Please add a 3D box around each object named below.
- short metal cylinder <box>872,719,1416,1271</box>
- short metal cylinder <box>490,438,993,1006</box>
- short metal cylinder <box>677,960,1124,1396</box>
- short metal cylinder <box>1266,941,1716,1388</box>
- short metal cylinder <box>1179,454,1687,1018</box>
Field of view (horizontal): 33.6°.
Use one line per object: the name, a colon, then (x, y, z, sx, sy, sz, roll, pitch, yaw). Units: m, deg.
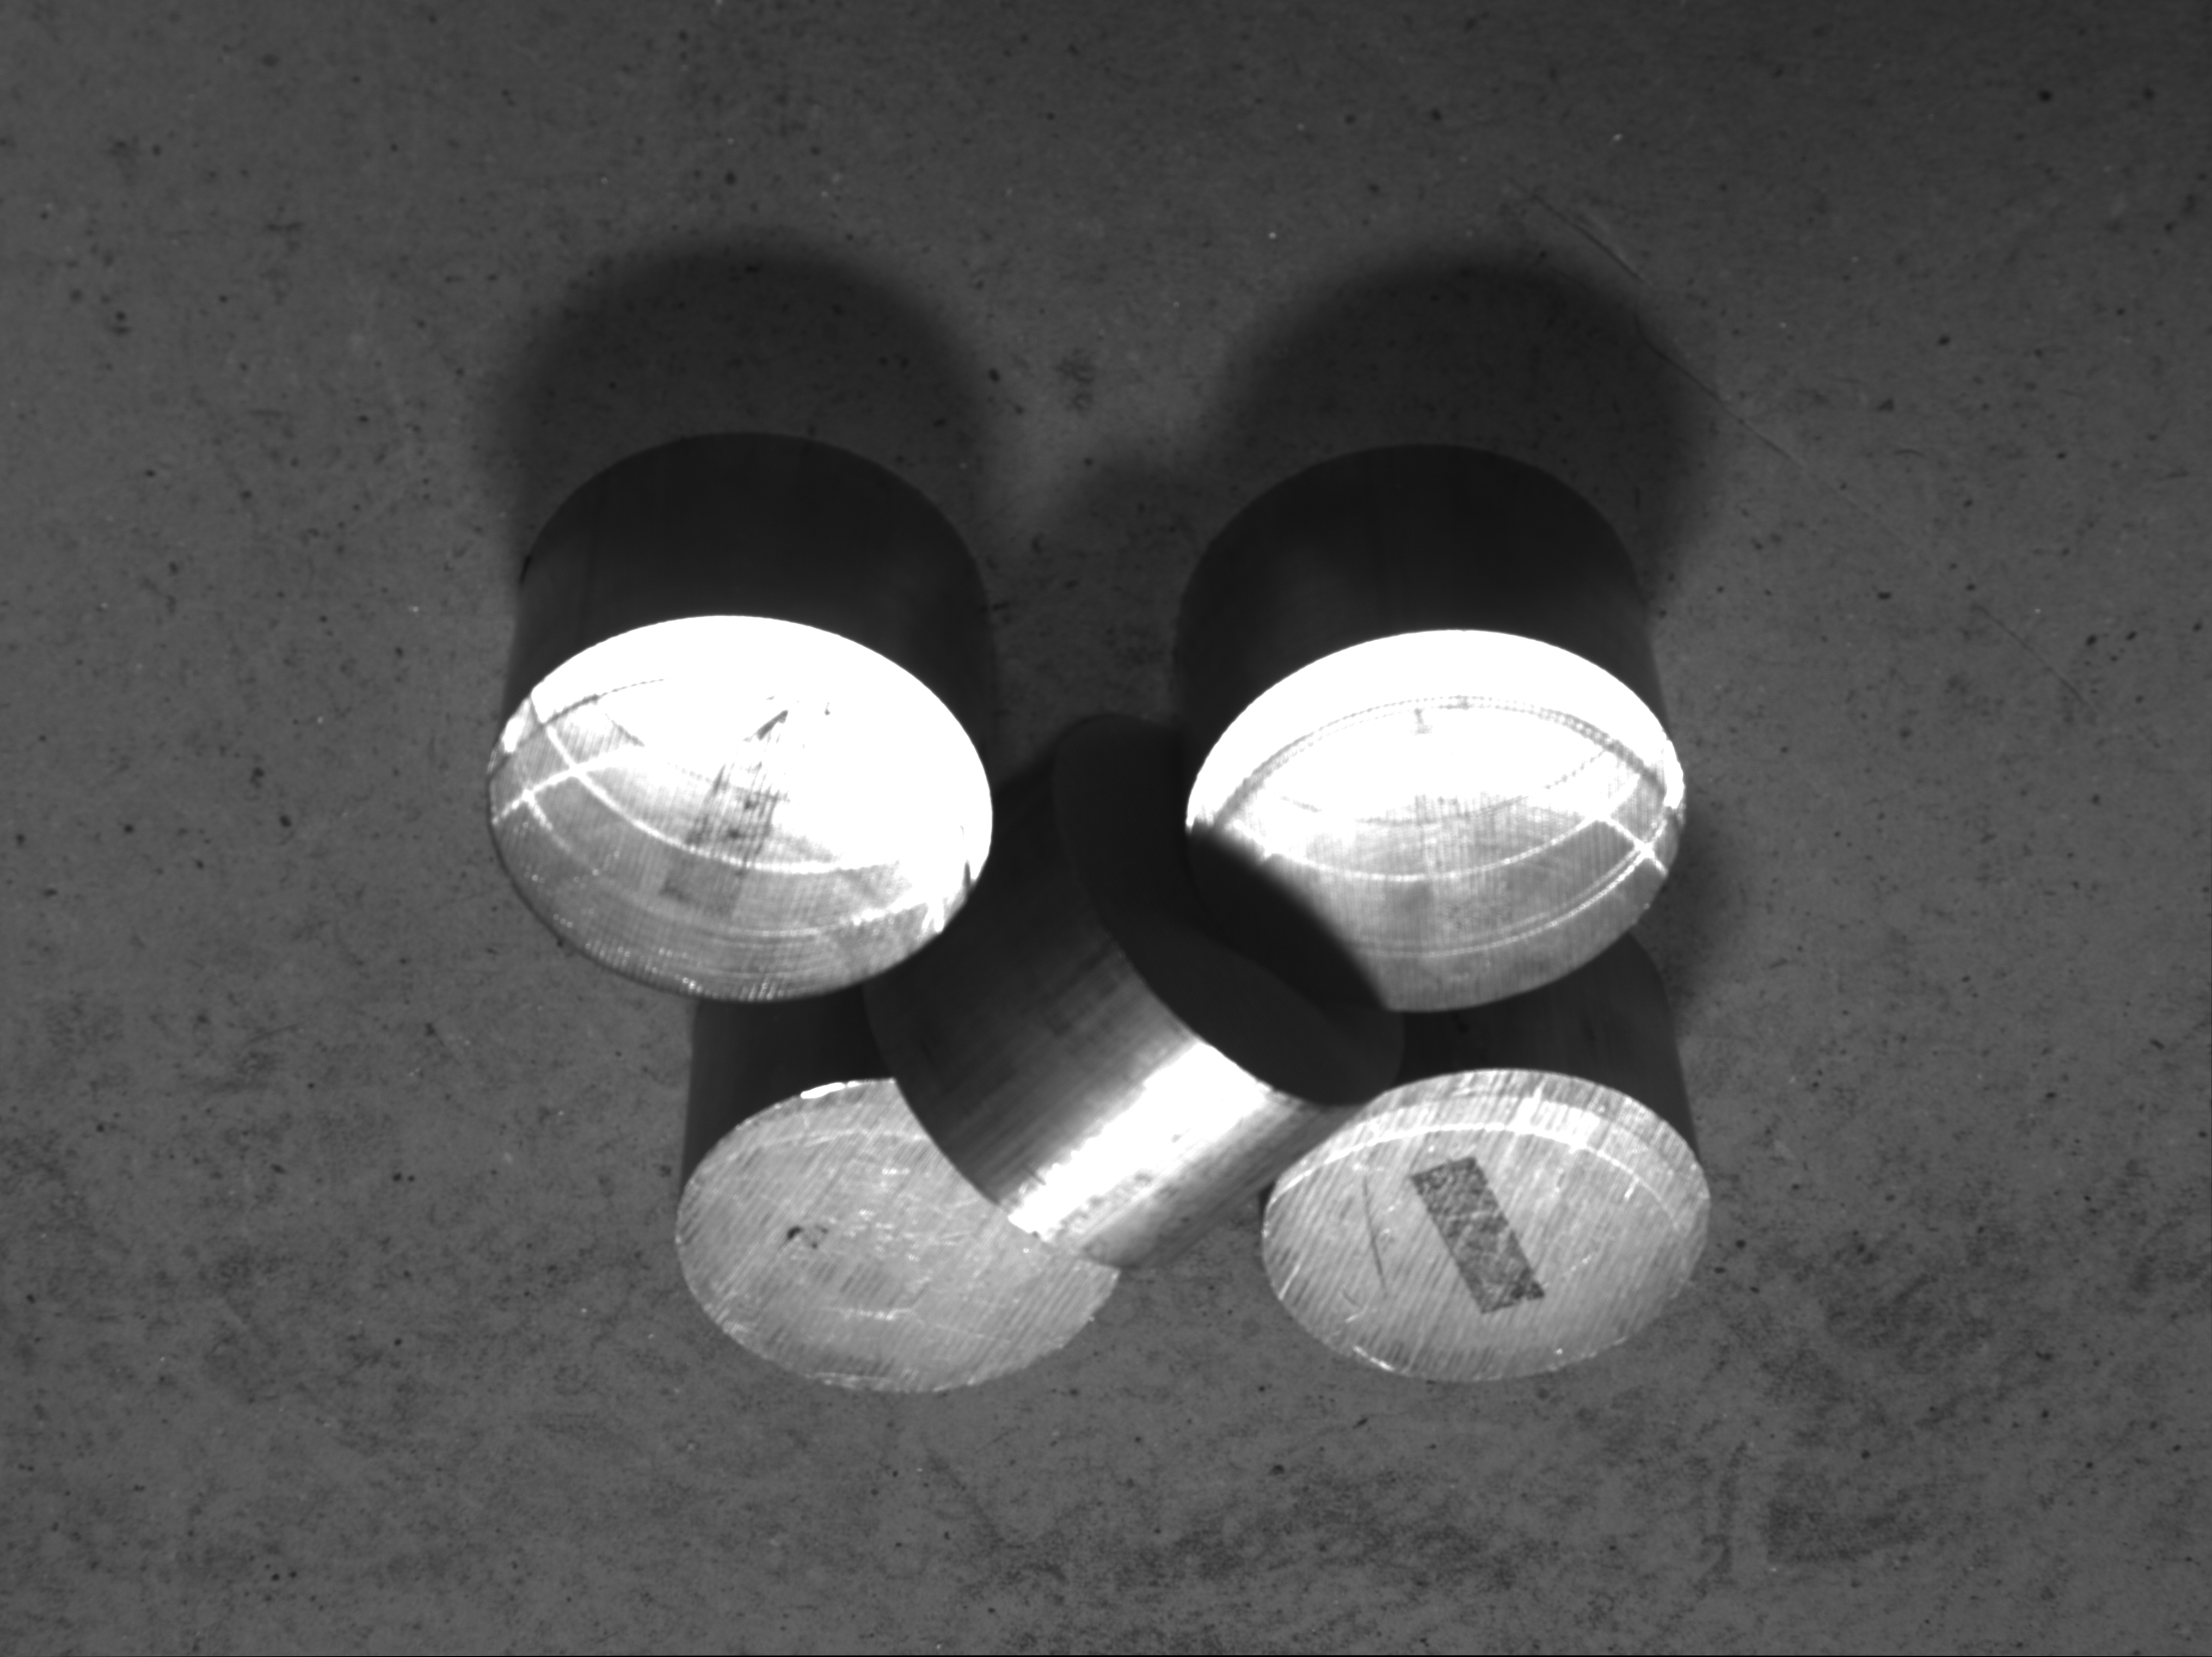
short metal cylinder: (0.007, 0.028, 0.627, 0.080, 0.080, 0.050, 33, 122, -26)
short metal cylinder: (-0.059, -0.017, 0.605, 0.080, 0.050, 0.080, -1, 130, -1)
short metal cylinder: (-0.036, 0.058, 0.668, 0.080, 0.050, 0.080, -1, 130, -1)
short metal cylinder: (0.068, 0.057, 0.671, 0.080, 0.050, 0.080, -1, 130, -1)
short metal cylinder: (0.053, -0.015, 0.609, 0.080, 0.050, 0.080, -1, 130, -1)
